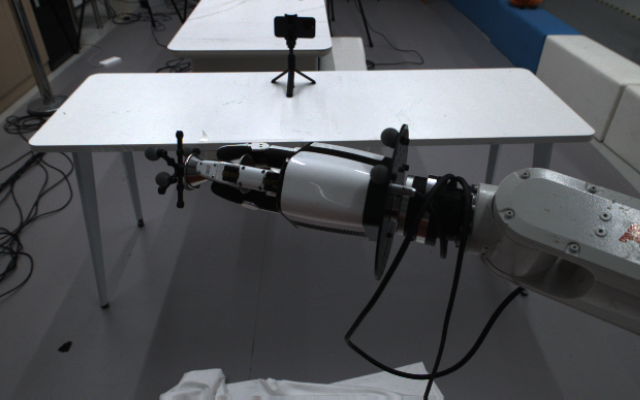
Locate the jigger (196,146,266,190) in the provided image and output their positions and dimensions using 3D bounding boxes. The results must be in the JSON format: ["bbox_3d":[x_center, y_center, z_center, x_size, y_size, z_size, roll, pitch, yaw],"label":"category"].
[{"bbox_3d":[-0.107,-0.036,0.547,0.071,0.043,0.043,3,34,16],"label":"jigger"}]
